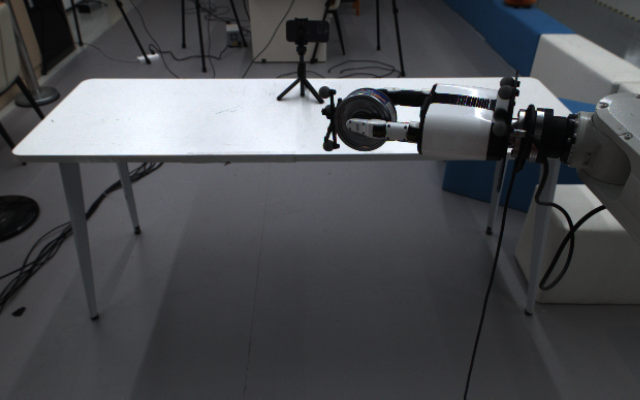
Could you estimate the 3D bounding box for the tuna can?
[{"bbox_3d":[0.067,-0.112,0.688,0.085,0.085,0.034,12,28,14],"label":"tuna can"}]
